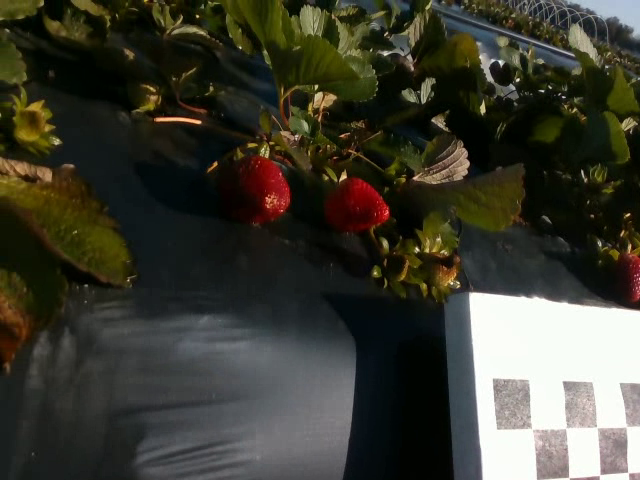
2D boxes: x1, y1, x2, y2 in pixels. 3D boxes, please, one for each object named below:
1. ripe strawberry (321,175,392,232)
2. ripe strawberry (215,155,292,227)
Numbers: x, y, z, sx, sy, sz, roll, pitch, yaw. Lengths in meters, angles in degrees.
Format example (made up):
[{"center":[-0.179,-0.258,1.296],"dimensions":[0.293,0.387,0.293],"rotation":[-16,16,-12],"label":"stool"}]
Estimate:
[{"center":[0.027,-0.020,0.375],"dimensions":[0.042,0.039,0.049],"rotation":[-41,39,-26],"label":"ripe strawberry"},{"center":[-0.035,-0.026,0.336],"dimensions":[0.050,0.045,0.050],"rotation":[28,2,-24],"label":"ripe strawberry"}]
